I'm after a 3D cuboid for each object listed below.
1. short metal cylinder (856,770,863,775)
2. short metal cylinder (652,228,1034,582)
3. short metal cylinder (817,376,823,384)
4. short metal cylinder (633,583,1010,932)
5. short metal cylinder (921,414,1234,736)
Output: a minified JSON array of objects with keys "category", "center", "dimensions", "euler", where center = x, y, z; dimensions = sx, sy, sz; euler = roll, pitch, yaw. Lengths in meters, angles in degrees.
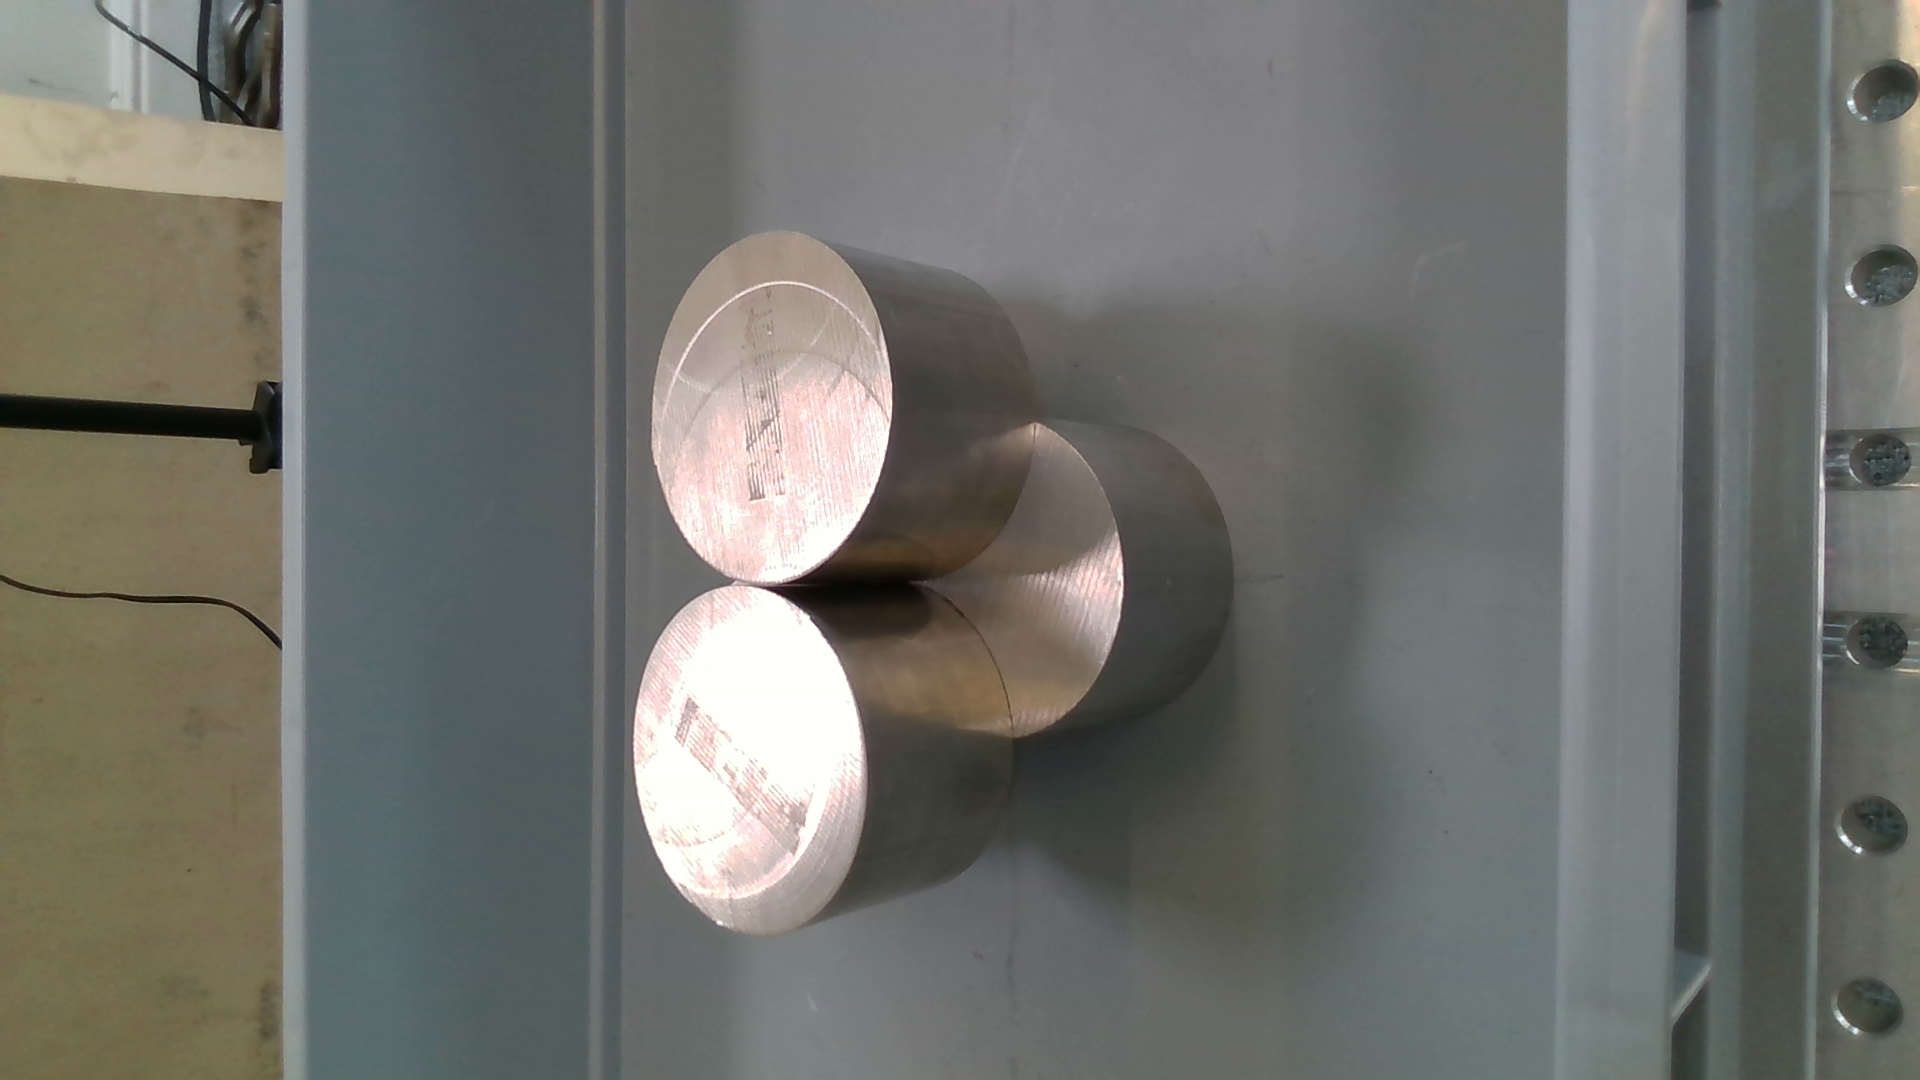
[{"category":"short metal cylinder","center":[-0.033,0.045,0.401],"dimensions":[0.080,0.050,0.080],"euler":[0,91,40]},{"category":"short metal cylinder","center":[-0.029,-0.030,0.332],"dimensions":[0.080,0.050,0.080],"euler":[0,91,40]},{"category":"short metal cylinder","center":[-0.029,-0.037,0.397],"dimensions":[0.080,0.050,0.080],"euler":[0,91,40]},{"category":"short metal cylinder","center":[-0.035,0.050,0.336],"dimensions":[0.080,0.050,0.080],"euler":[0,91,40]},{"category":"short metal cylinder","center":[0.023,0.008,0.354],"dimensions":[0.080,0.050,0.080],"euler":[0,91,40]}]
